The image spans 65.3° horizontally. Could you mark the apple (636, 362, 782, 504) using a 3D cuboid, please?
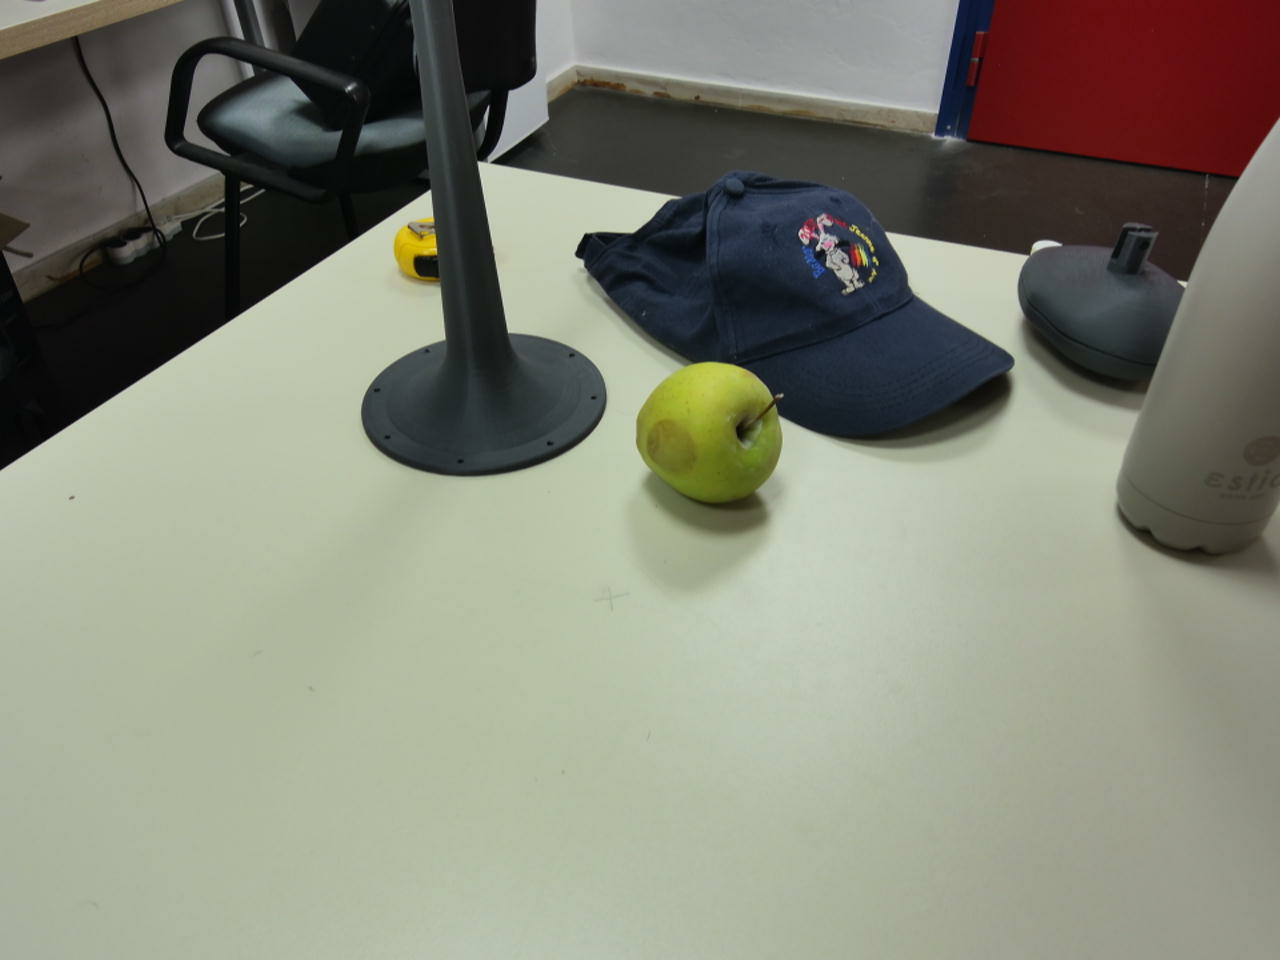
[{"bbox_3d":[0.037,-0.027,0.528,0.072,0.075,0.077,-12,40,-16],"label":"apple"}]
